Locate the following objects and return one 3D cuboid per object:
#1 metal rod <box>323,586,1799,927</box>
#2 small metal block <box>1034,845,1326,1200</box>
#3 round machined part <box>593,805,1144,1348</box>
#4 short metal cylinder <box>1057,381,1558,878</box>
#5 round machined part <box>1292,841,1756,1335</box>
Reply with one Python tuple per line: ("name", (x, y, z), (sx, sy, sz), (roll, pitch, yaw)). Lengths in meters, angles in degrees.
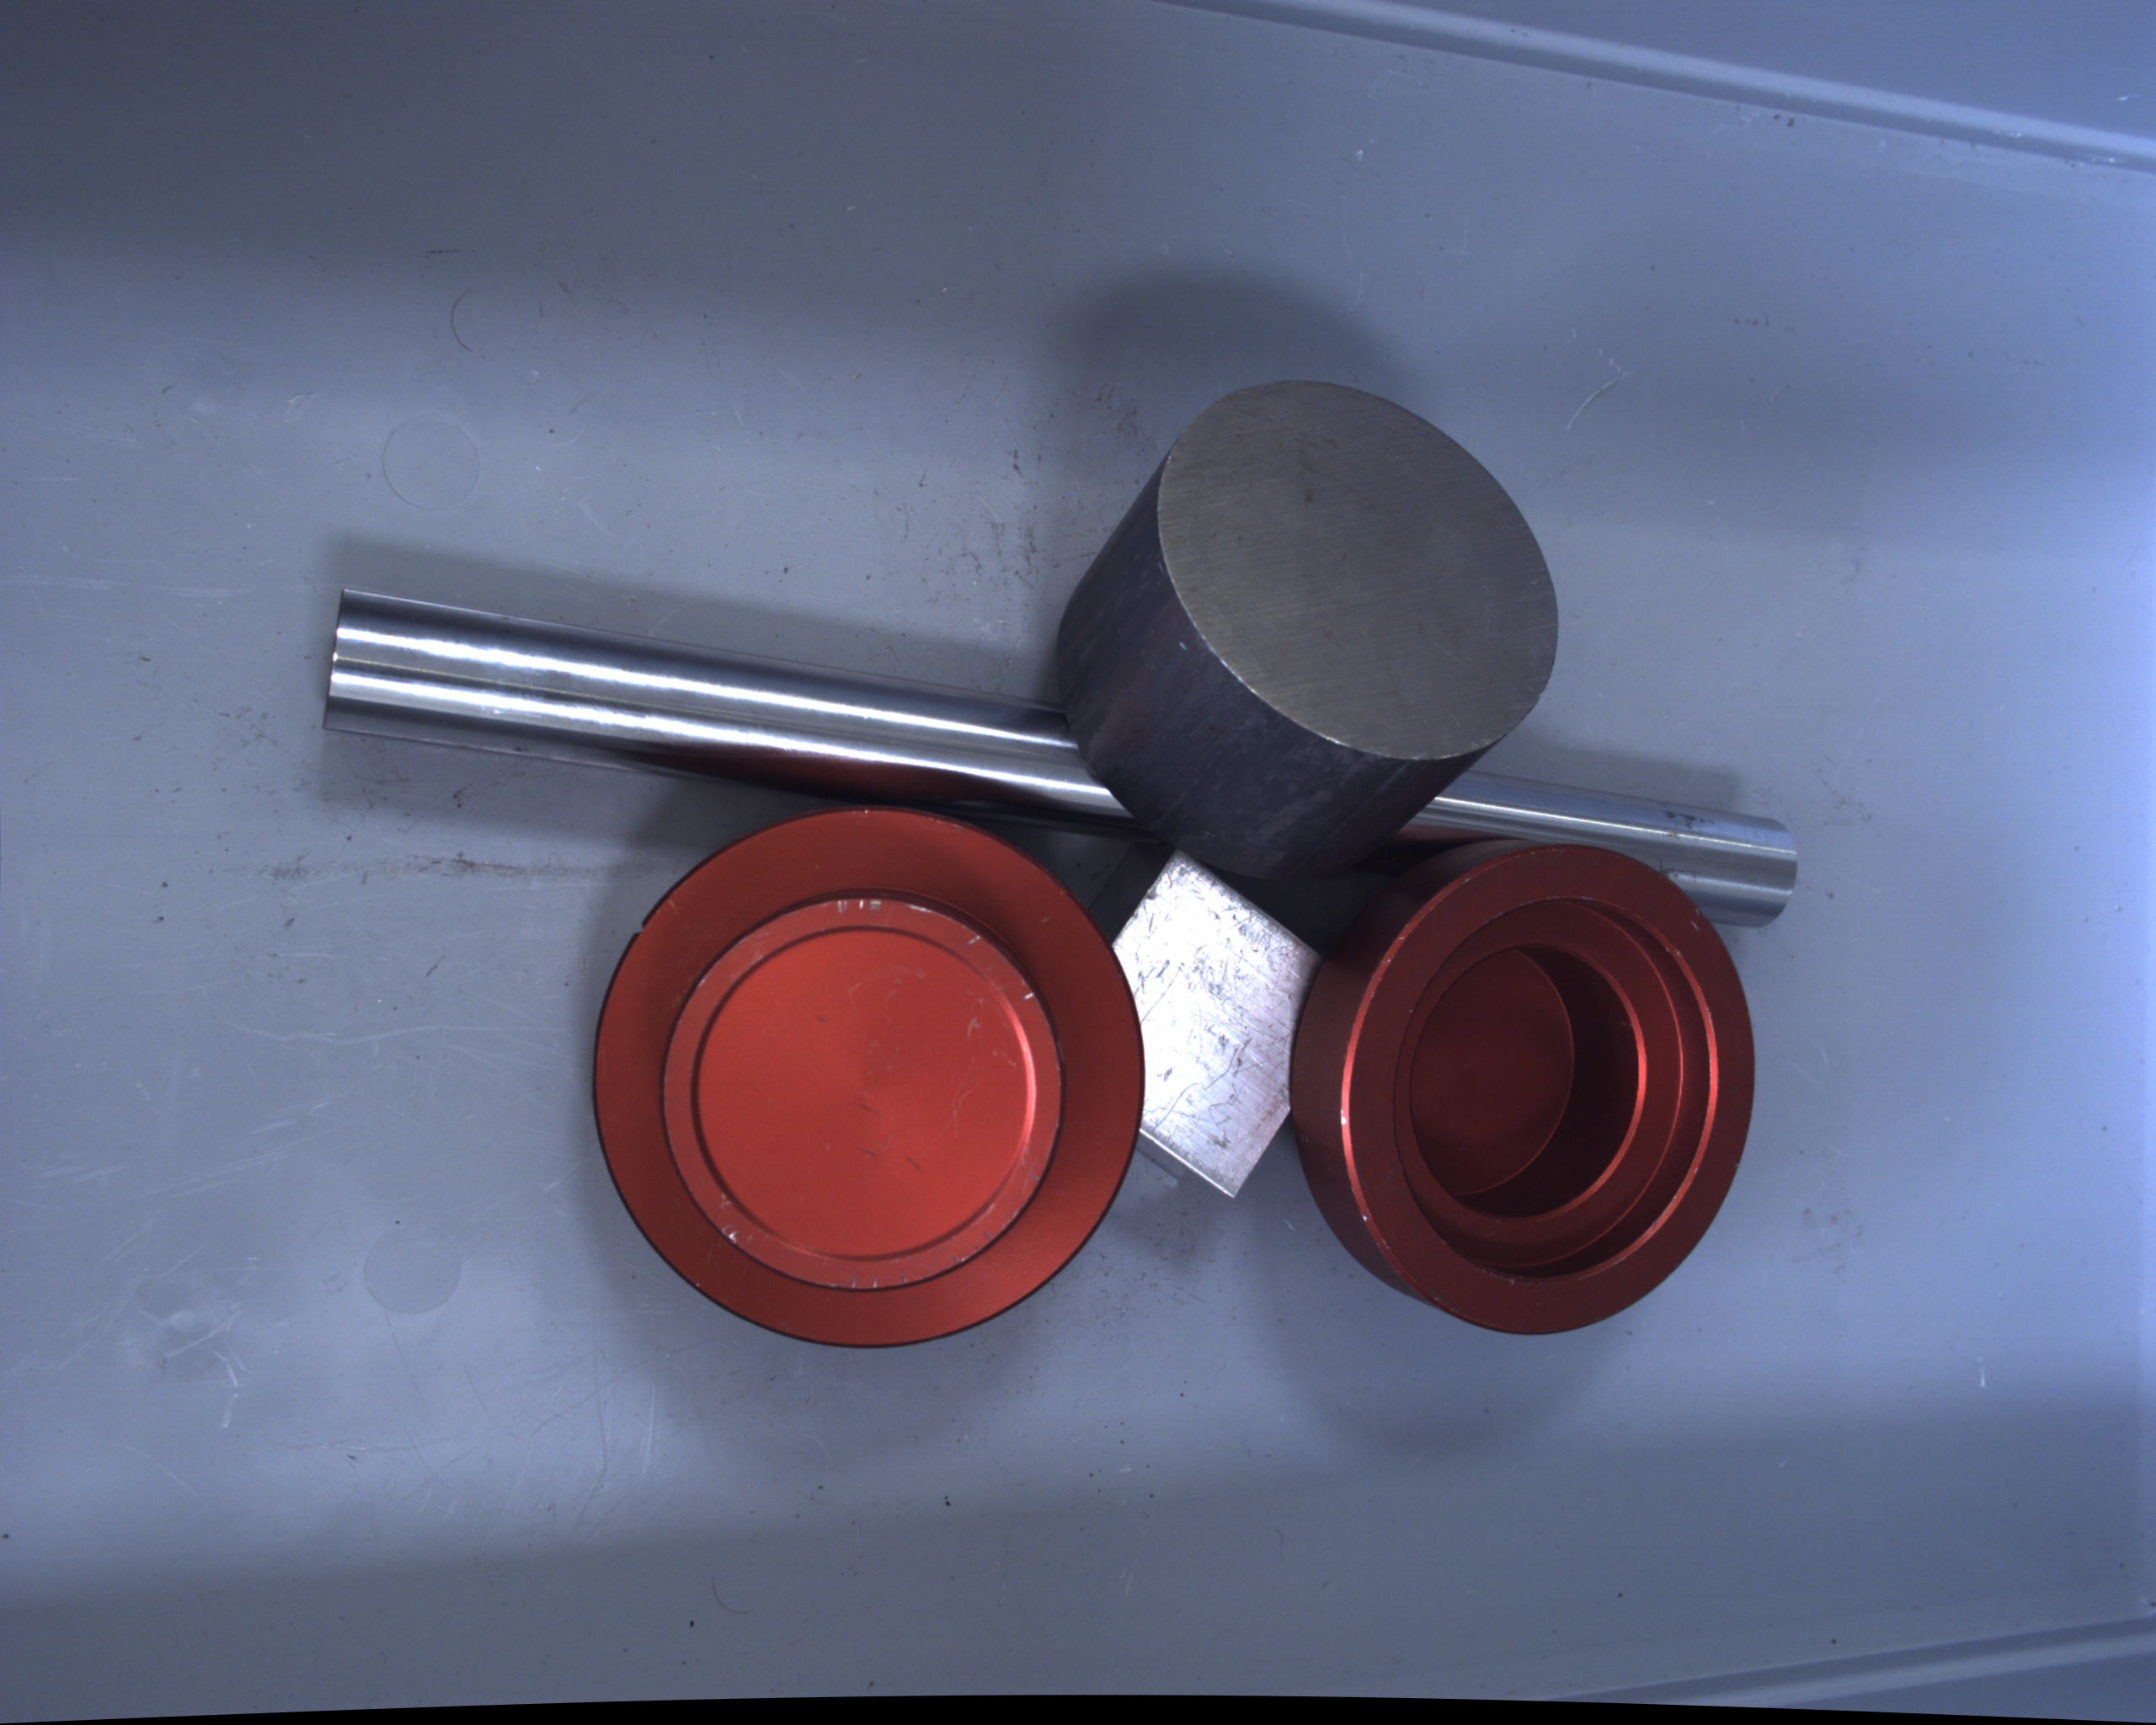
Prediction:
("metal rod", (0.012, -0.017, 0.413), (0.302, 0.025, 0.025), (8, 88, -20))
("small metal block", (0.021, 0.031, 0.417), (0.050, 0.025, 0.050), (38, 78, -16))
("round machined part", (-0.037, 0.038, 0.372), (0.099, 0.042, 0.097), (0, 91, -2))
("short metal cylinder", (0.042, -0.044, 0.395), (0.081, 0.050, 0.080), (10, 61, -19))
("round machined part", (0.087, 0.044, 0.430), (0.099, 0.042, 0.097), (-1, 93, -23))
